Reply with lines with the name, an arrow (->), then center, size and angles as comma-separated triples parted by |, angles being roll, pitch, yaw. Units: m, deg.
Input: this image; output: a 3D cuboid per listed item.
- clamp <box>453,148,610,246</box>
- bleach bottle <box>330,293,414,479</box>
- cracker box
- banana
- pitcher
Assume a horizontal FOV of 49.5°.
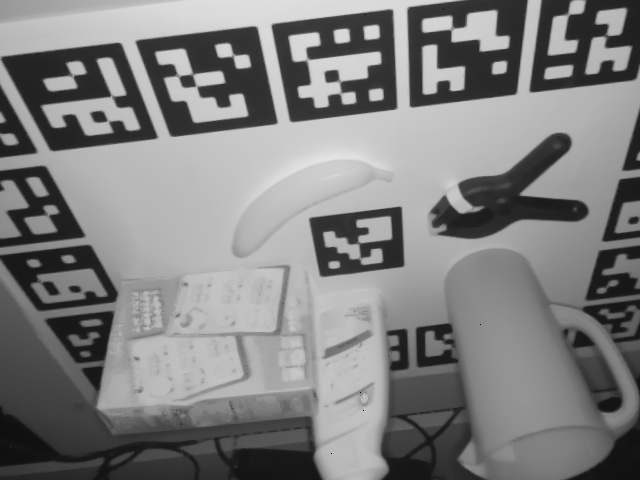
clamp -> 0.226, -0.032, 0.752 | 0.164, 0.037, 0.122 | -16, 136, 12
bleach bottle -> 0.068, 0.178, 0.795 | 0.103, 0.252, 0.067 | -5, 136, 0
cracker box -> -0.093, 0.120, 0.759 | 0.214, 0.165, 0.071 | -5, 138, -3
banana -> 0.004, -0.035, 0.736 | 0.195, 0.039, 0.074 | -31, 131, 23
pitcher -> 0.253, 0.147, 0.757 | 0.187, 0.244, 0.133 | -17, 135, 15
